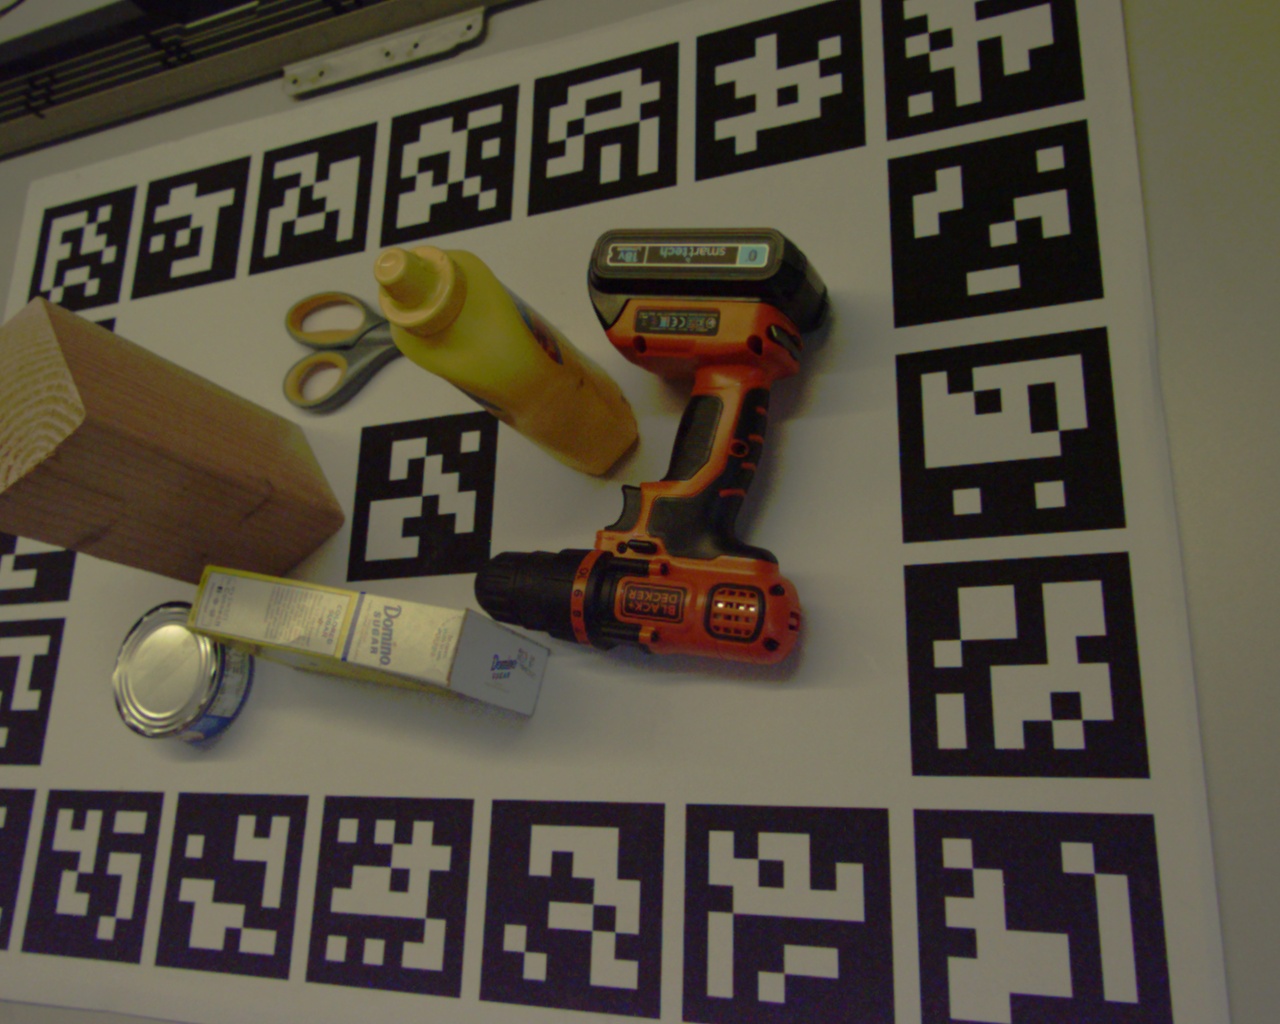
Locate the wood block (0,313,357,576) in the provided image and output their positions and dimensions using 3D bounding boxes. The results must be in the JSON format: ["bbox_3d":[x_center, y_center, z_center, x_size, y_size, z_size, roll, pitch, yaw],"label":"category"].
[{"bbox_3d":[-0.281,-0.027,0.689,0.091,0.204,0.090,-34,67,13],"label":"wood block"}]

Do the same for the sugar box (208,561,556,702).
[{"bbox_3d":[-0.148,0.070,0.658,0.178,0.092,0.045,7,76,24],"label":"sugar box"}]

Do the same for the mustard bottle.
[{"bbox_3d":[-0.075,-0.082,0.617,0.058,0.189,0.097,-45,65,8],"label":"mustard bottle"}]

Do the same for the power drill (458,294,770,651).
[{"bbox_3d":[-0.009,-0.024,0.637,0.187,0.057,0.187,9,87,26],"label":"power drill"}]

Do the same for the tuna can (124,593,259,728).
[{"bbox_3d":[-0.292,0.098,0.743,0.086,0.033,0.086,-6,75,22],"label":"tuna can"}]

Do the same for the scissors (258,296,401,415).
[{"bbox_3d":[-0.173,-0.112,0.757,0.205,0.015,0.088,-3,71,24],"label":"scissors"}]
